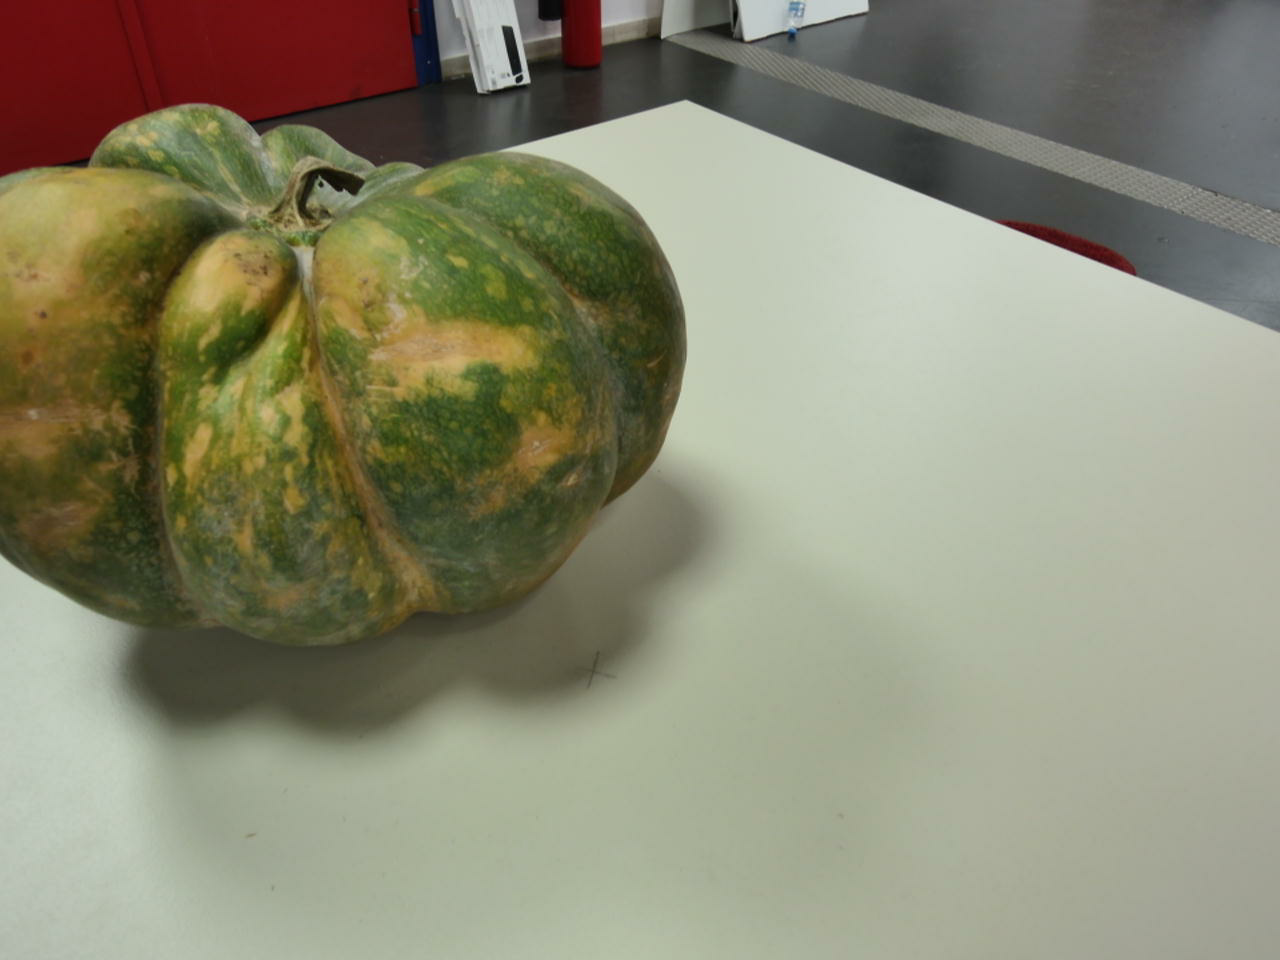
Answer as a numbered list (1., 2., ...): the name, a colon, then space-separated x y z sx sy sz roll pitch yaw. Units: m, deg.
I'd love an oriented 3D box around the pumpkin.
1. pumpkin: -0.120 -0.049 0.375 0.270 0.173 0.237 -2 37 -2
